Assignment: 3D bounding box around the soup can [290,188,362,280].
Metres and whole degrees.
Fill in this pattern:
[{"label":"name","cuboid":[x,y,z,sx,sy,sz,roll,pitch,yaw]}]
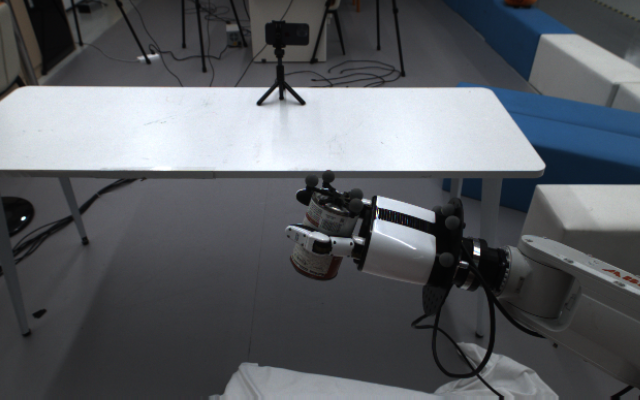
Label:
[{"label":"soup can","cuboid":[0.008,0.046,0.638,0.067,0.101,0.067,17,21,-7]}]
